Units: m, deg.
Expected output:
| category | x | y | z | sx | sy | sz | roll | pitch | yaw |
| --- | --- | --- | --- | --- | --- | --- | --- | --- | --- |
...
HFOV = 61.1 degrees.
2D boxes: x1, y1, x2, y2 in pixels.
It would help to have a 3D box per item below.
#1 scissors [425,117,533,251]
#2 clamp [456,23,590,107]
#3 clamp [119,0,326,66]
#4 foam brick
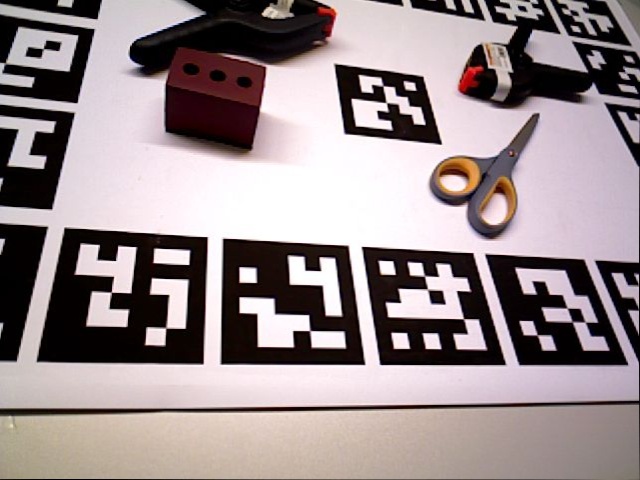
| category | x | y | z | sx | sy | sz | roll | pitch | yaw |
| --- | --- | --- | --- | --- | --- | --- | --- | --- | --- |
| scissors | 0.171 | -0.073 | 0.530 | 0.087 | 0.016 | 0.198 | 41 | 55 | 2 |
| clamp | 0.220 | -0.193 | 0.616 | 0.162 | 0.037 | 0.121 | -23 | 74 | -26 |
| clamp | -0.093 | -0.225 | 0.543 | 0.200 | 0.037 | 0.163 | 0 | 56 | -16 |
| foam brick | -0.097 | -0.113 | 0.466 | 0.077 | 0.052 | 0.052 | 8 | 58 | -5 |
